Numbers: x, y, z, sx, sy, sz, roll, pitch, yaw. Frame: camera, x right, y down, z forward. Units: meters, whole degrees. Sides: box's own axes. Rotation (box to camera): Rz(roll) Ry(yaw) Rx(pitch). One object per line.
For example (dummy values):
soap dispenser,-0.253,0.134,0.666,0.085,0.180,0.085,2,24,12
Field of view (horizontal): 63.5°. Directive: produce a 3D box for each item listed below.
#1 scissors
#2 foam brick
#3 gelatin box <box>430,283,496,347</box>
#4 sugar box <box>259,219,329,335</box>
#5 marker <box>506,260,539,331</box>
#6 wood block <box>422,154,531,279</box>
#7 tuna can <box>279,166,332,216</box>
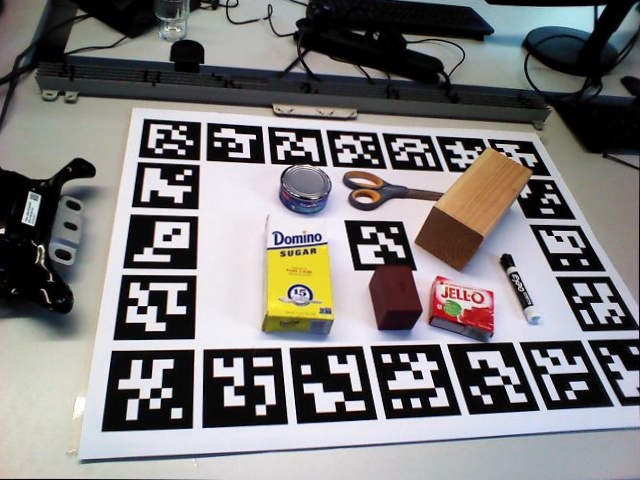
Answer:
scissors,0.143,-0.075,0.902,0.203,0.016,0.087,6,51,-3
foam brick,0.109,0.089,0.736,0.053,0.051,0.077,3,52,-9
gelatin box,0.210,0.109,0.760,0.089,0.030,0.073,16,51,2
sugar box,-0.036,0.050,0.750,0.093,0.045,0.175,6,51,-8
marker,0.313,0.083,0.805,0.019,0.020,0.120,3,54,-9
wood block,0.269,-0.043,0.857,0.090,0.091,0.205,36,53,18
tuna can,-0.025,-0.081,0.858,0.086,0.034,0.085,5,52,-7
